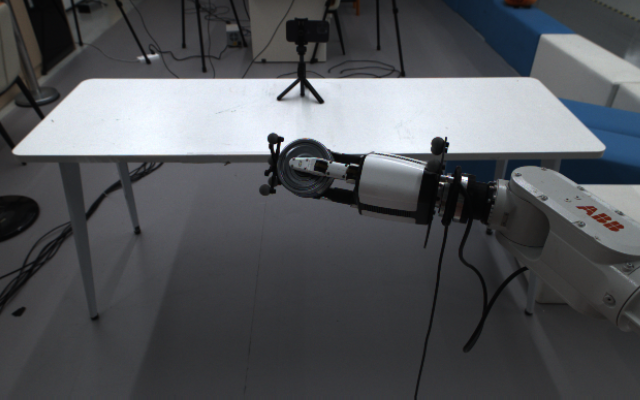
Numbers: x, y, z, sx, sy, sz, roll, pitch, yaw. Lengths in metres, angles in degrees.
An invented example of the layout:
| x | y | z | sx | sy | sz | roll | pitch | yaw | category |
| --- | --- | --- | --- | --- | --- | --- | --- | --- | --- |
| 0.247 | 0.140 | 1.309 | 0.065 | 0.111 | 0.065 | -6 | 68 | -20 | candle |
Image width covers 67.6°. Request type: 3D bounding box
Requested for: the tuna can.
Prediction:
| x | y | z | sx | sy | sz | roll | pitch | yaw | category |
| --- | --- | --- | --- | --- | --- | --- | --- | --- | --- |
| -0.019 | -0.049 | 0.722 | 0.085 | 0.085 | 0.034 | 9 | -6 | 10 | tuna can |
